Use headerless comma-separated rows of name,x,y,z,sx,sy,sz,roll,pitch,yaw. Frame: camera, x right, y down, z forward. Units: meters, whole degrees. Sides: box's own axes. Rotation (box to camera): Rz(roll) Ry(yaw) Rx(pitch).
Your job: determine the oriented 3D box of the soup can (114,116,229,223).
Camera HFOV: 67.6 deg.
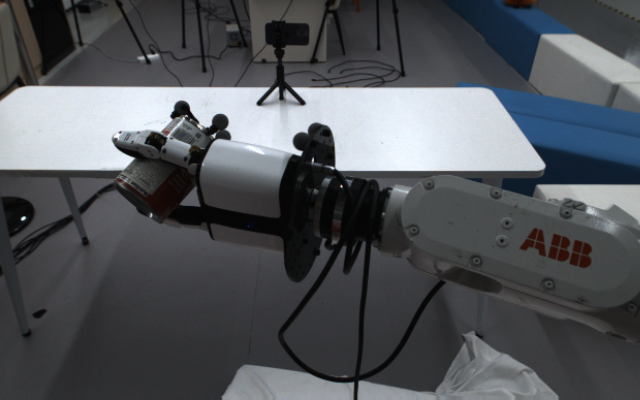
soup can,-0.163,-0.033,0.527,0.067,0.067,0.101,25,66,30
